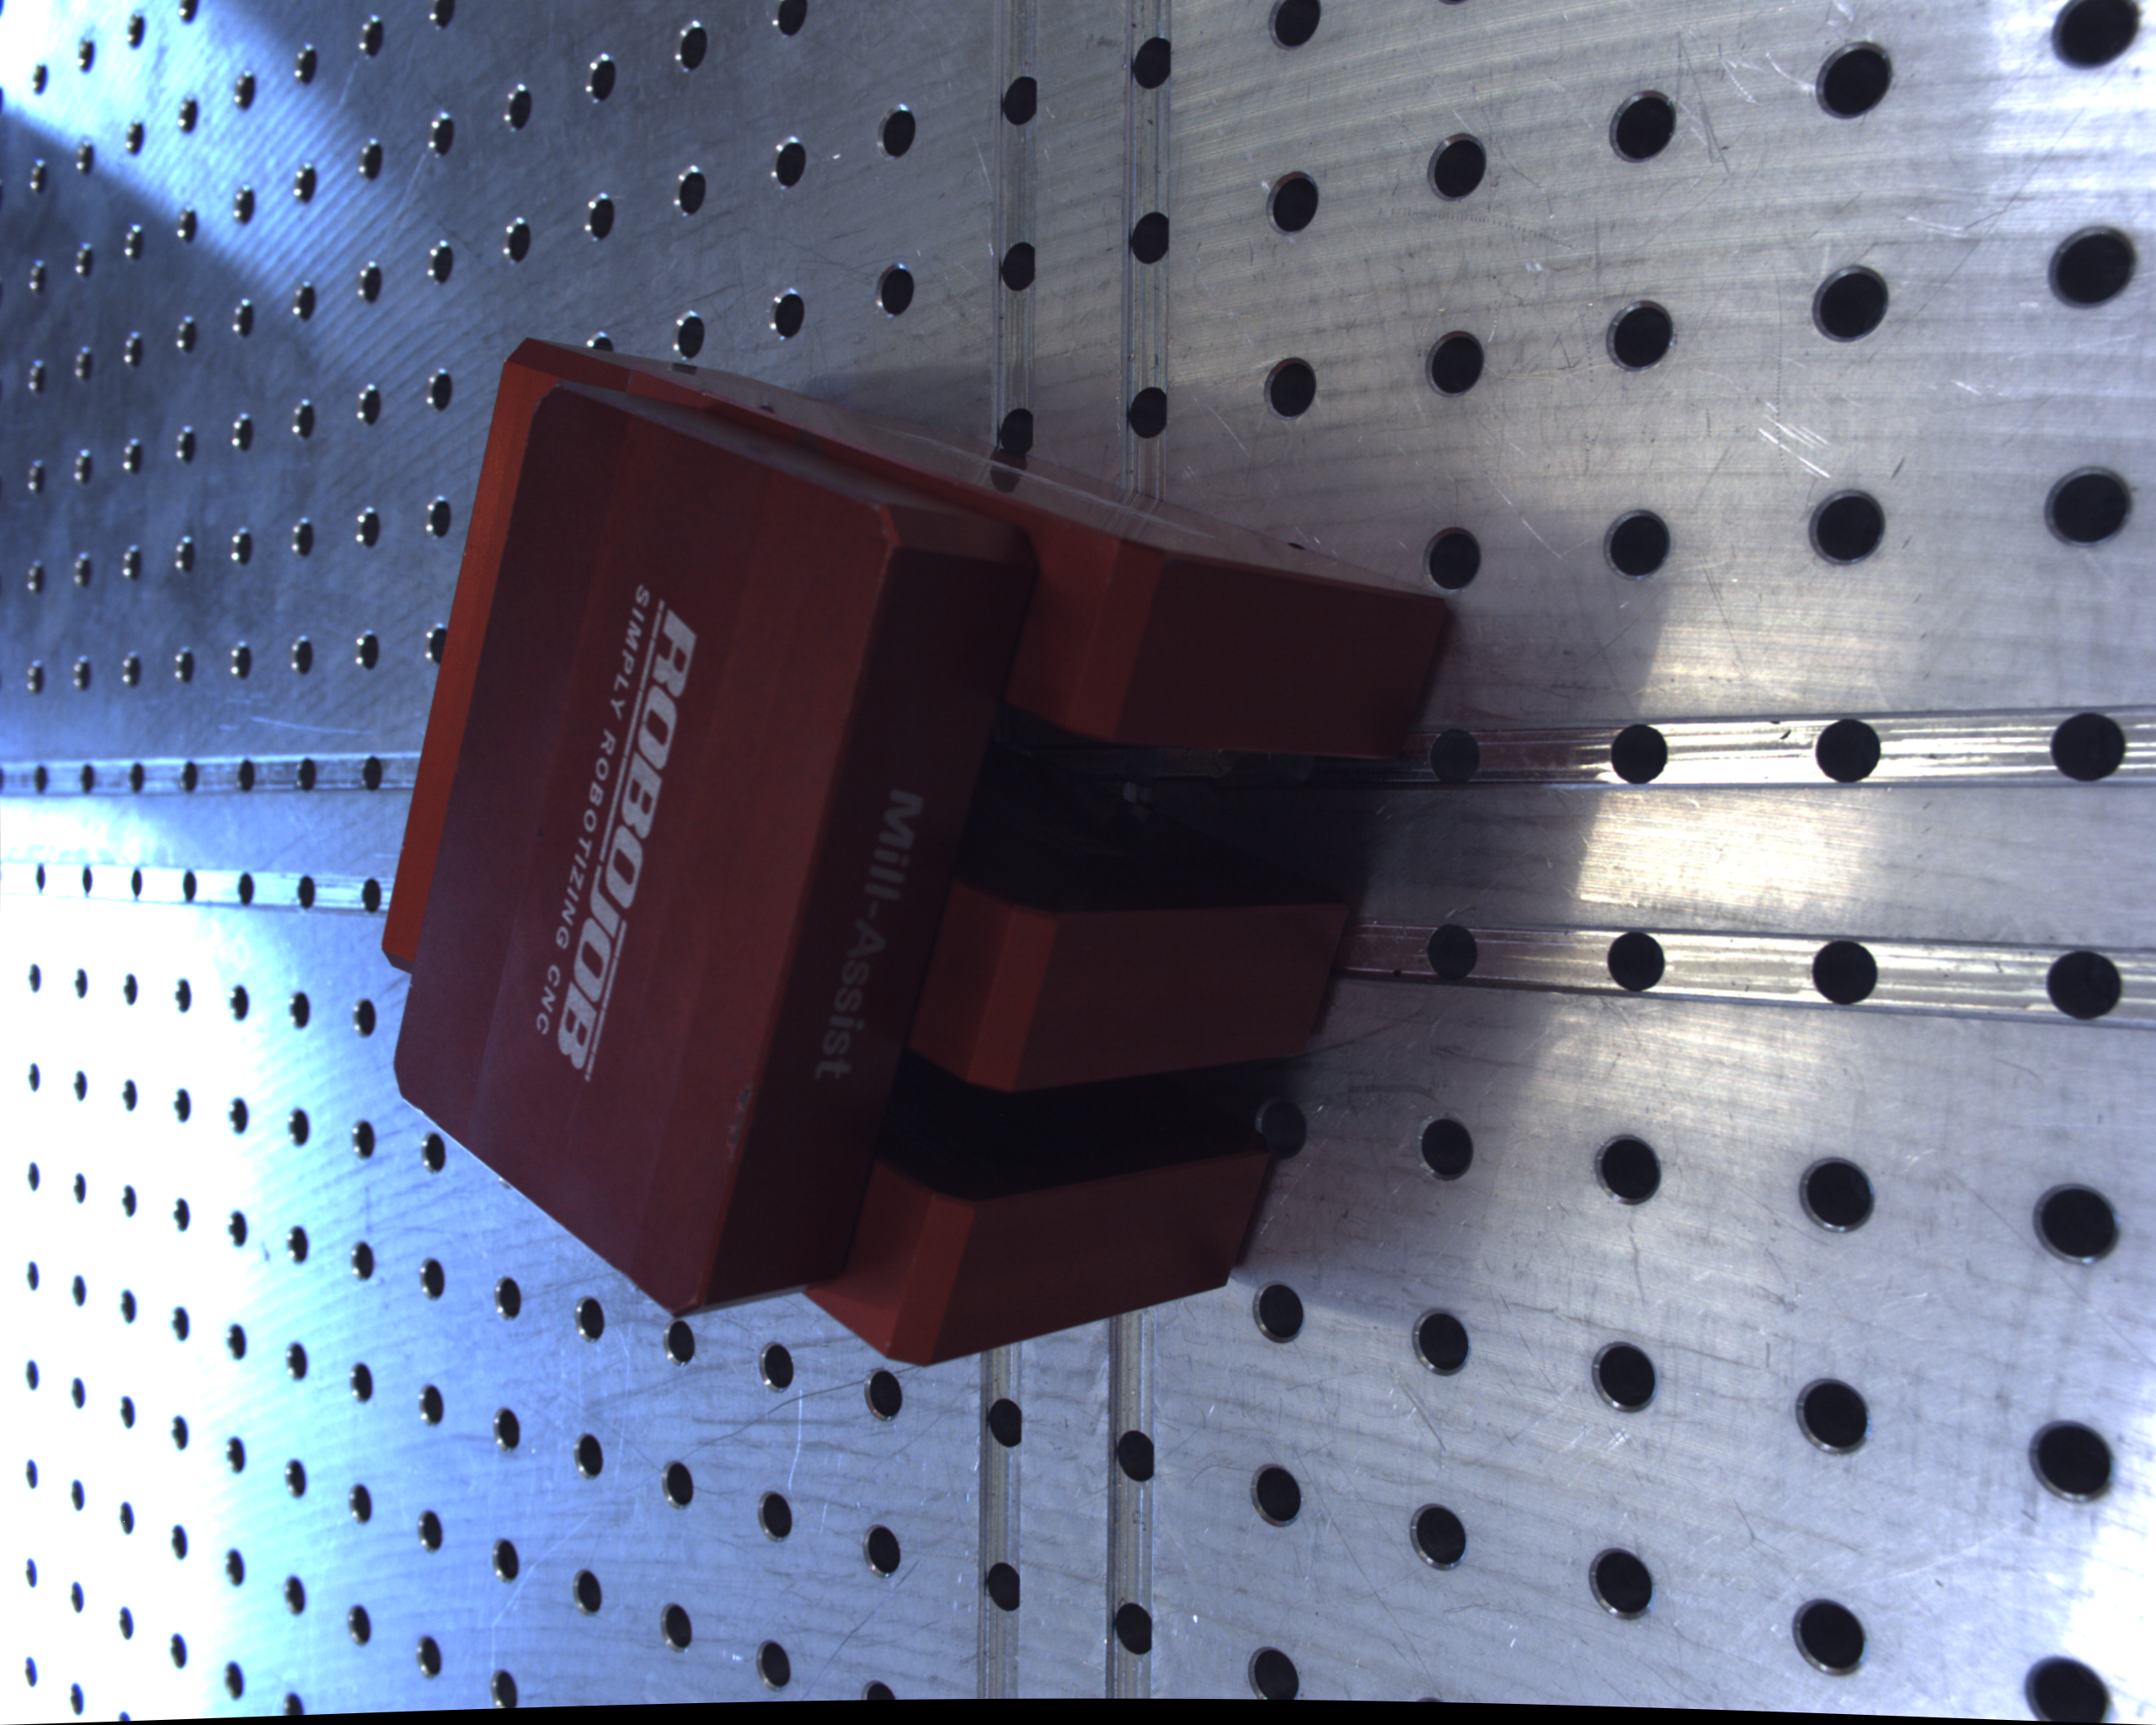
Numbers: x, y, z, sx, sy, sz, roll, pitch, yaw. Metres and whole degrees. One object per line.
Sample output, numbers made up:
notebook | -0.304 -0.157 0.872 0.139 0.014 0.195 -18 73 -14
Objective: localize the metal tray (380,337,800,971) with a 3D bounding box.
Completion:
metal tray | -0.096 -0.040 0.444 0.030 0.090 0.129 20 104 16

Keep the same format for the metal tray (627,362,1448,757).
metal tray | -0.012 -0.055 0.376 0.130 0.091 0.030 27 107 37

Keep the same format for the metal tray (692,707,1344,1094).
metal tray | -0.028 0.000 0.390 0.130 0.091 0.030 25 105 36

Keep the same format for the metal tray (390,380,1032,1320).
metal tray | -0.064 -0.004 0.342 0.090 0.030 0.129 26 107 37

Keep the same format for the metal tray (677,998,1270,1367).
metal tray | -0.041 0.044 0.401 0.130 0.091 0.030 27 107 36
